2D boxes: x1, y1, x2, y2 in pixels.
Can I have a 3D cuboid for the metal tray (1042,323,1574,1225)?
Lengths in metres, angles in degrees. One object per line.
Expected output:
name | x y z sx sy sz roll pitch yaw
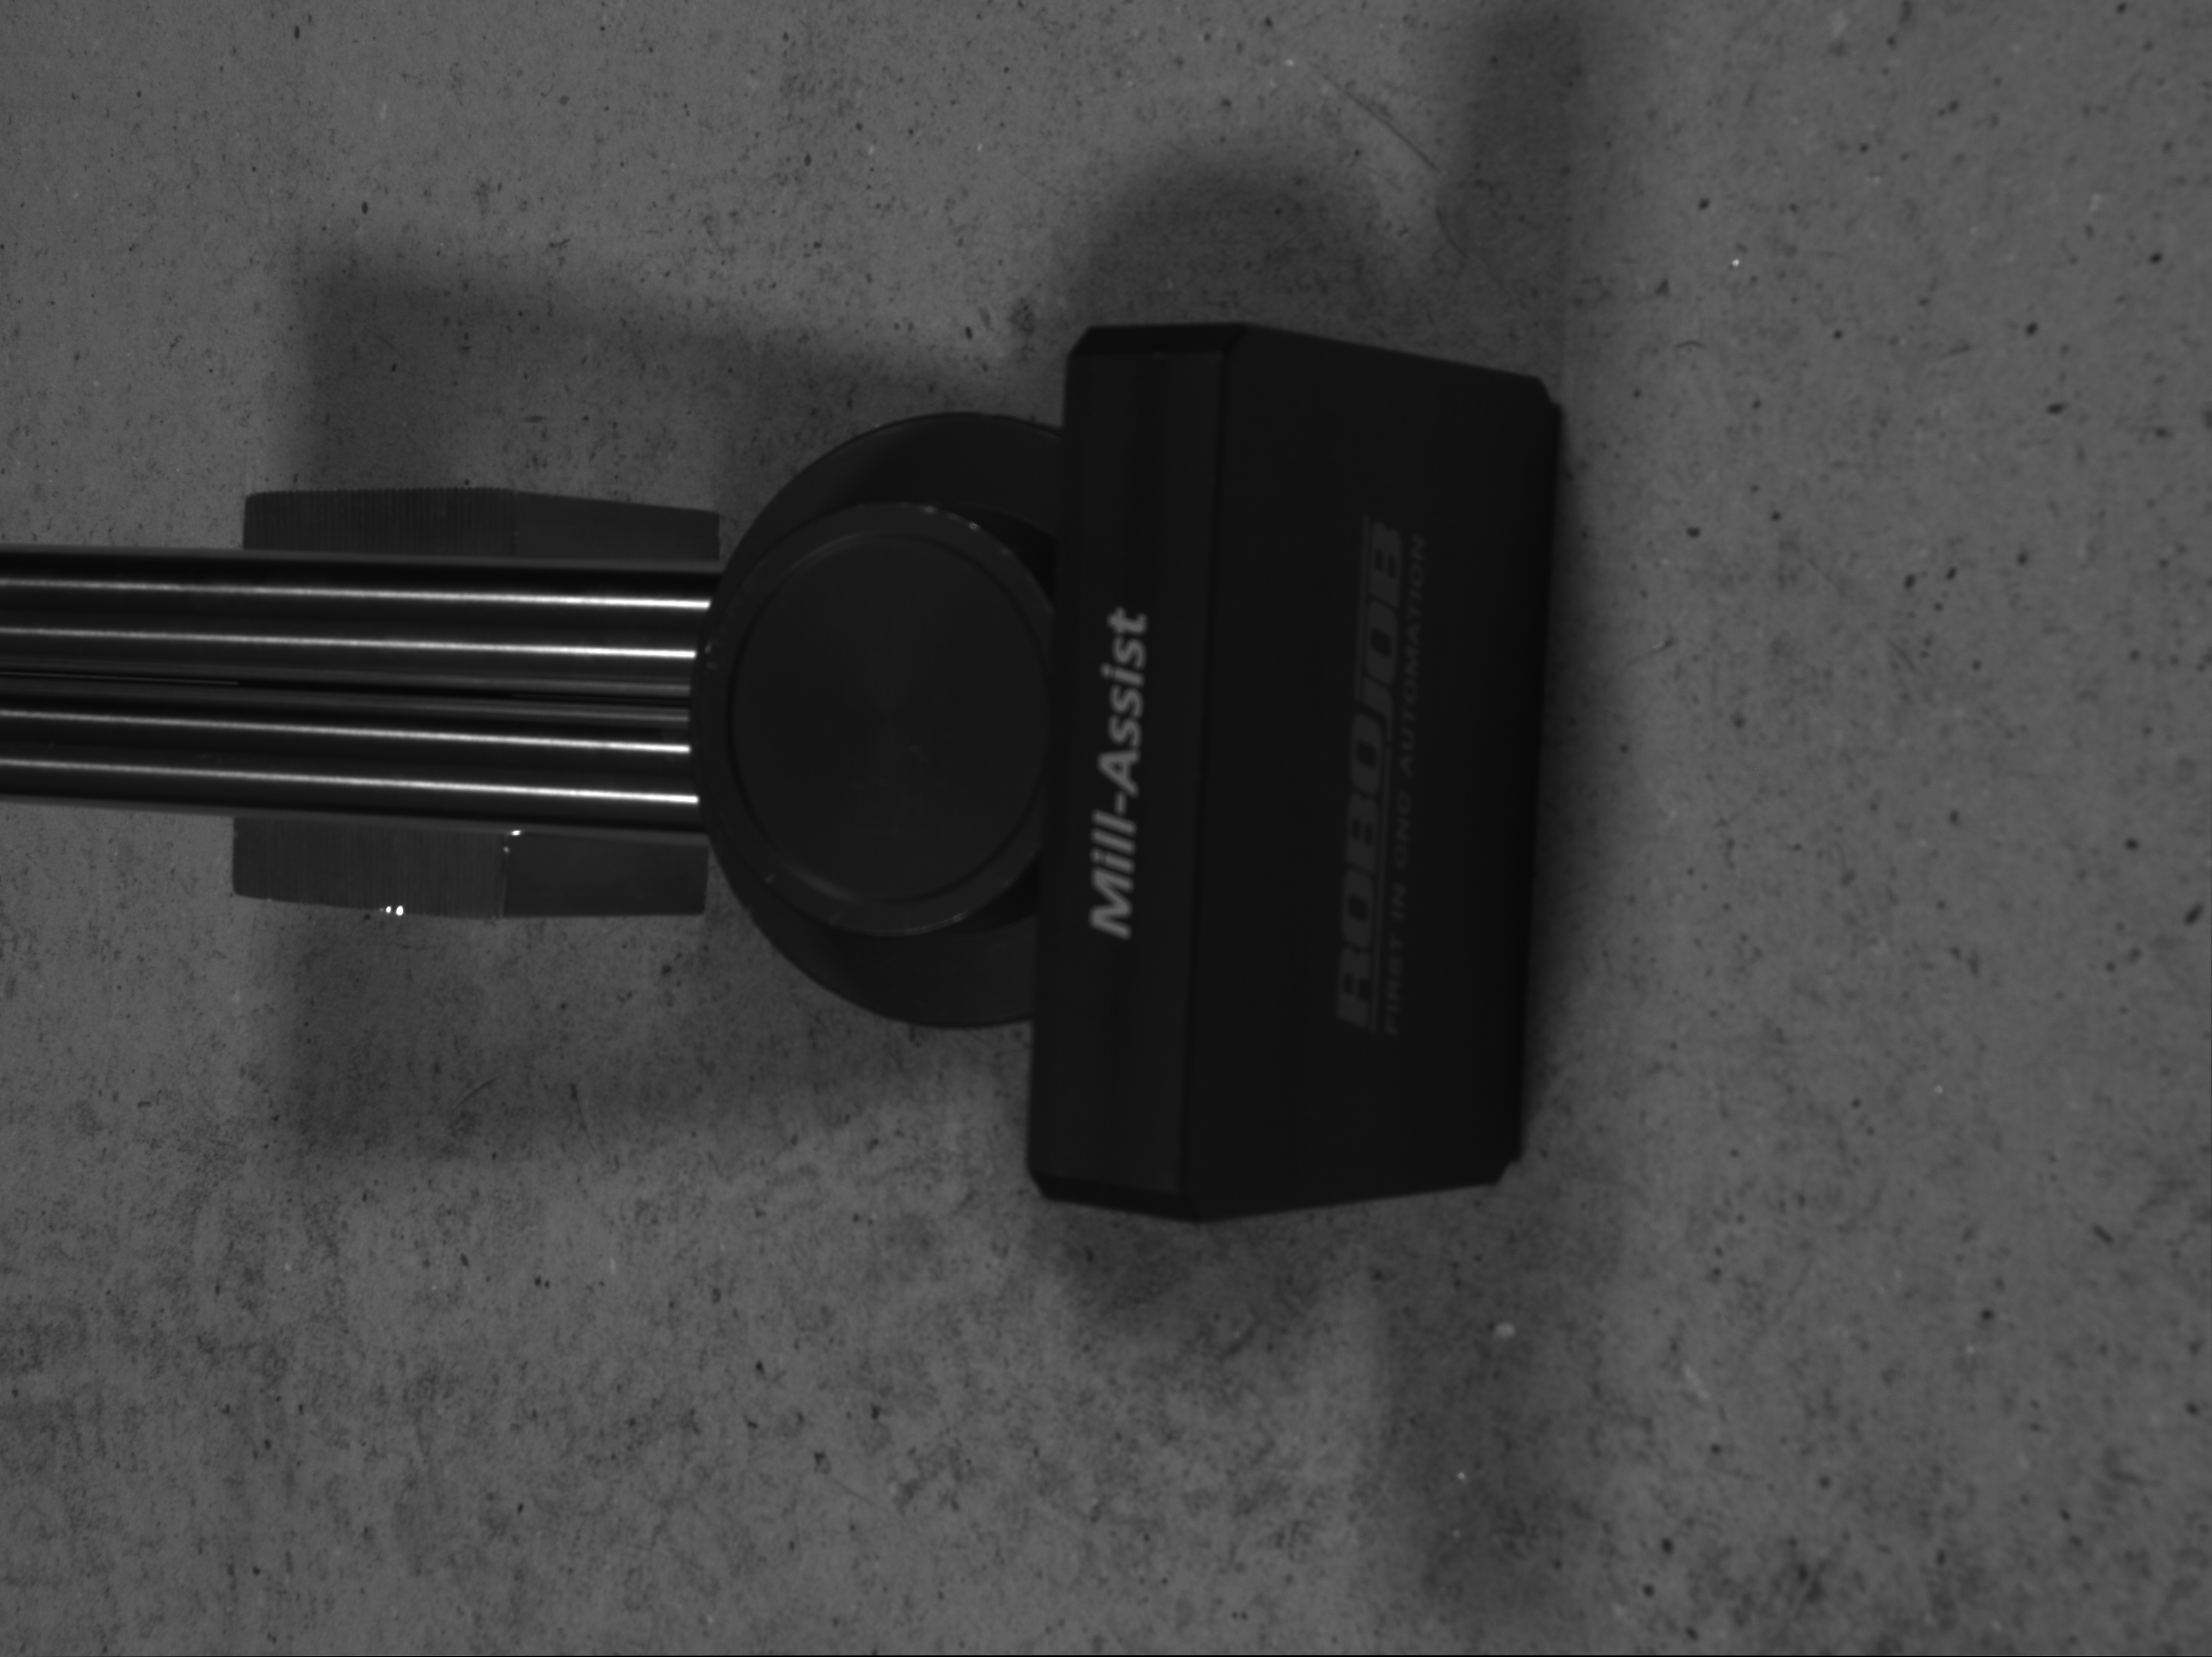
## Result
metal tray | 0.033 -0.008 0.567 0.030 0.090 0.130 5 93 39

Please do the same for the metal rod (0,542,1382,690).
metal rod | -0.091 -0.038 0.652 0.299 0.025 0.025 3 92 27

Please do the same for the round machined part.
round machined part | -0.023 -0.017 0.581 0.098 0.042 0.098 1 92 29

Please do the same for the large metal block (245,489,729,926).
large metal block | -0.121 -0.024 0.715 0.080 0.050 0.080 4 92 39

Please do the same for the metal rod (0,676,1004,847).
metal rod | -0.092 -0.011 0.654 0.299 0.025 0.025 3 92 27
